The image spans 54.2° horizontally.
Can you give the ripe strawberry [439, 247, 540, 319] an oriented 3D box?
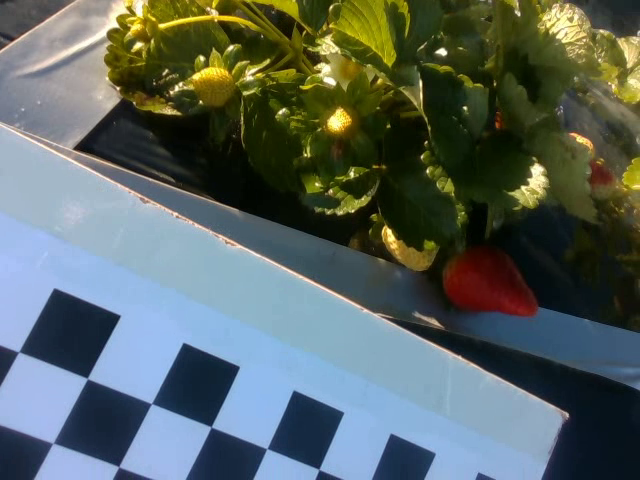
[{"bbox_3d":[0.092,0.025,0.333,0.045,0.049,0.063,-40,42,-13],"label":"ripe strawberry"}]
